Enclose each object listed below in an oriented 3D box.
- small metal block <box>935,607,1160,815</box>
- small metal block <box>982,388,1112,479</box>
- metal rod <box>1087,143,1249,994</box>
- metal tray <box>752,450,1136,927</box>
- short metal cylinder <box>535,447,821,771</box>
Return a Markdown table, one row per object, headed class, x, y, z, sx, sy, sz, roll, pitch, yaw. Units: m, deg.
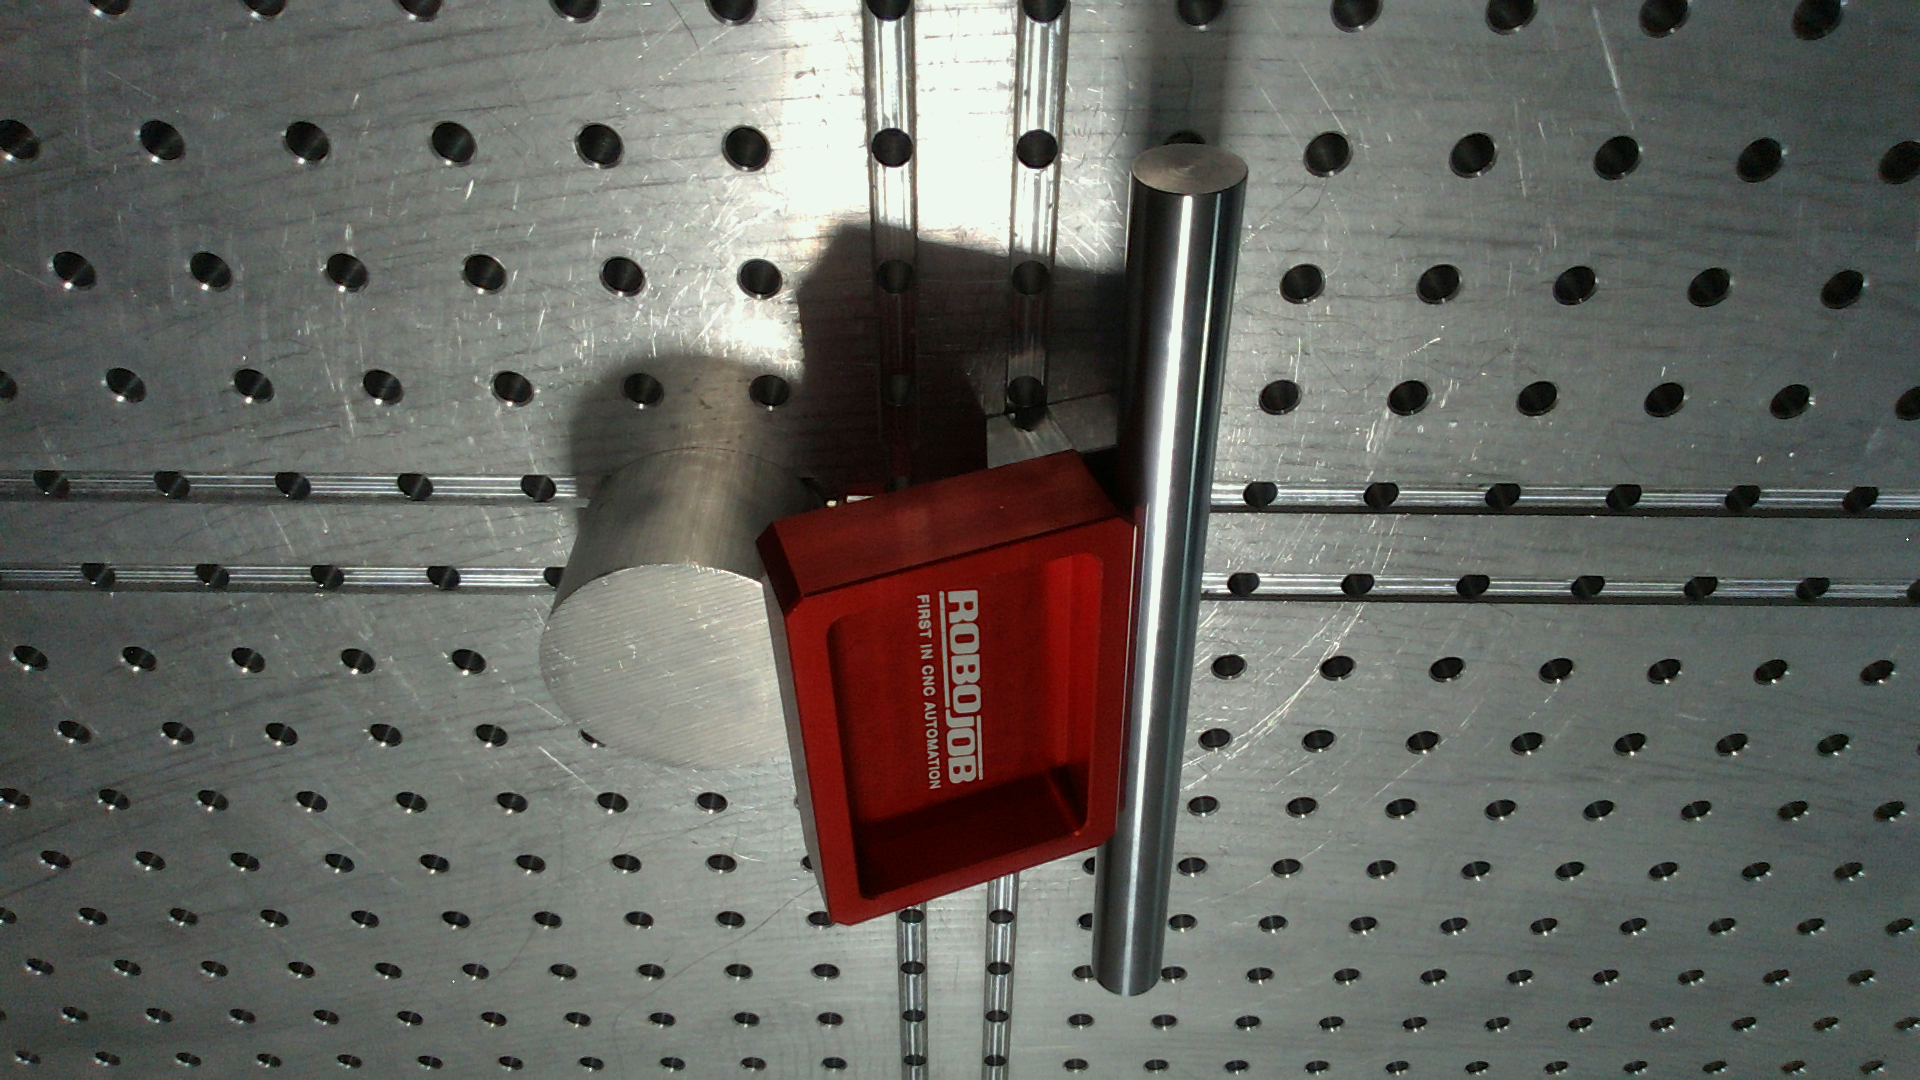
| class | x | y | z | sx | sy | sz | roll | pitch | yaw |
| --- | --- | --- | --- | --- | --- | --- | --- | --- | --- |
| small metal block | 0.027 | 0.056 | 0.439 | 0.050 | 0.025 | 0.050 | 31 | 123 | -24 |
| small metal block | 0.037 | -0.013 | 0.383 | 0.050 | 0.025 | 0.050 | -12 | 129 | 10 |
| metal rod | 0.053 | 0.035 | 0.390 | 0.025 | 0.025 | 0.300 | -1 | 130 | 1 |
| metal tray | -0.002 | 0.044 | 0.376 | 0.090 | 0.030 | 0.130 | -14 | 132 | -14 |
| short metal cylinder | -0.075 | 0.021 | 0.393 | 0.080 | 0.050 | 0.080 | 0 | 130 | 0 |
